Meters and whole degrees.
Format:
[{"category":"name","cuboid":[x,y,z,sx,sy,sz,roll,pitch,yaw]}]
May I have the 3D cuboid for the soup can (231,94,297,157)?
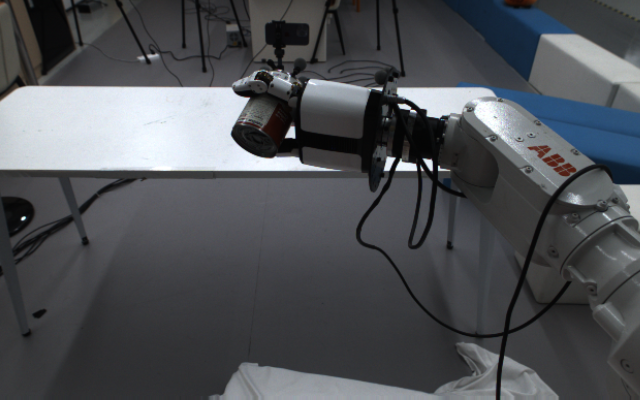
[{"category":"soup can","cuboid":[-0.069,-0.118,0.656,0.067,0.067,0.101,15,63,19]}]
